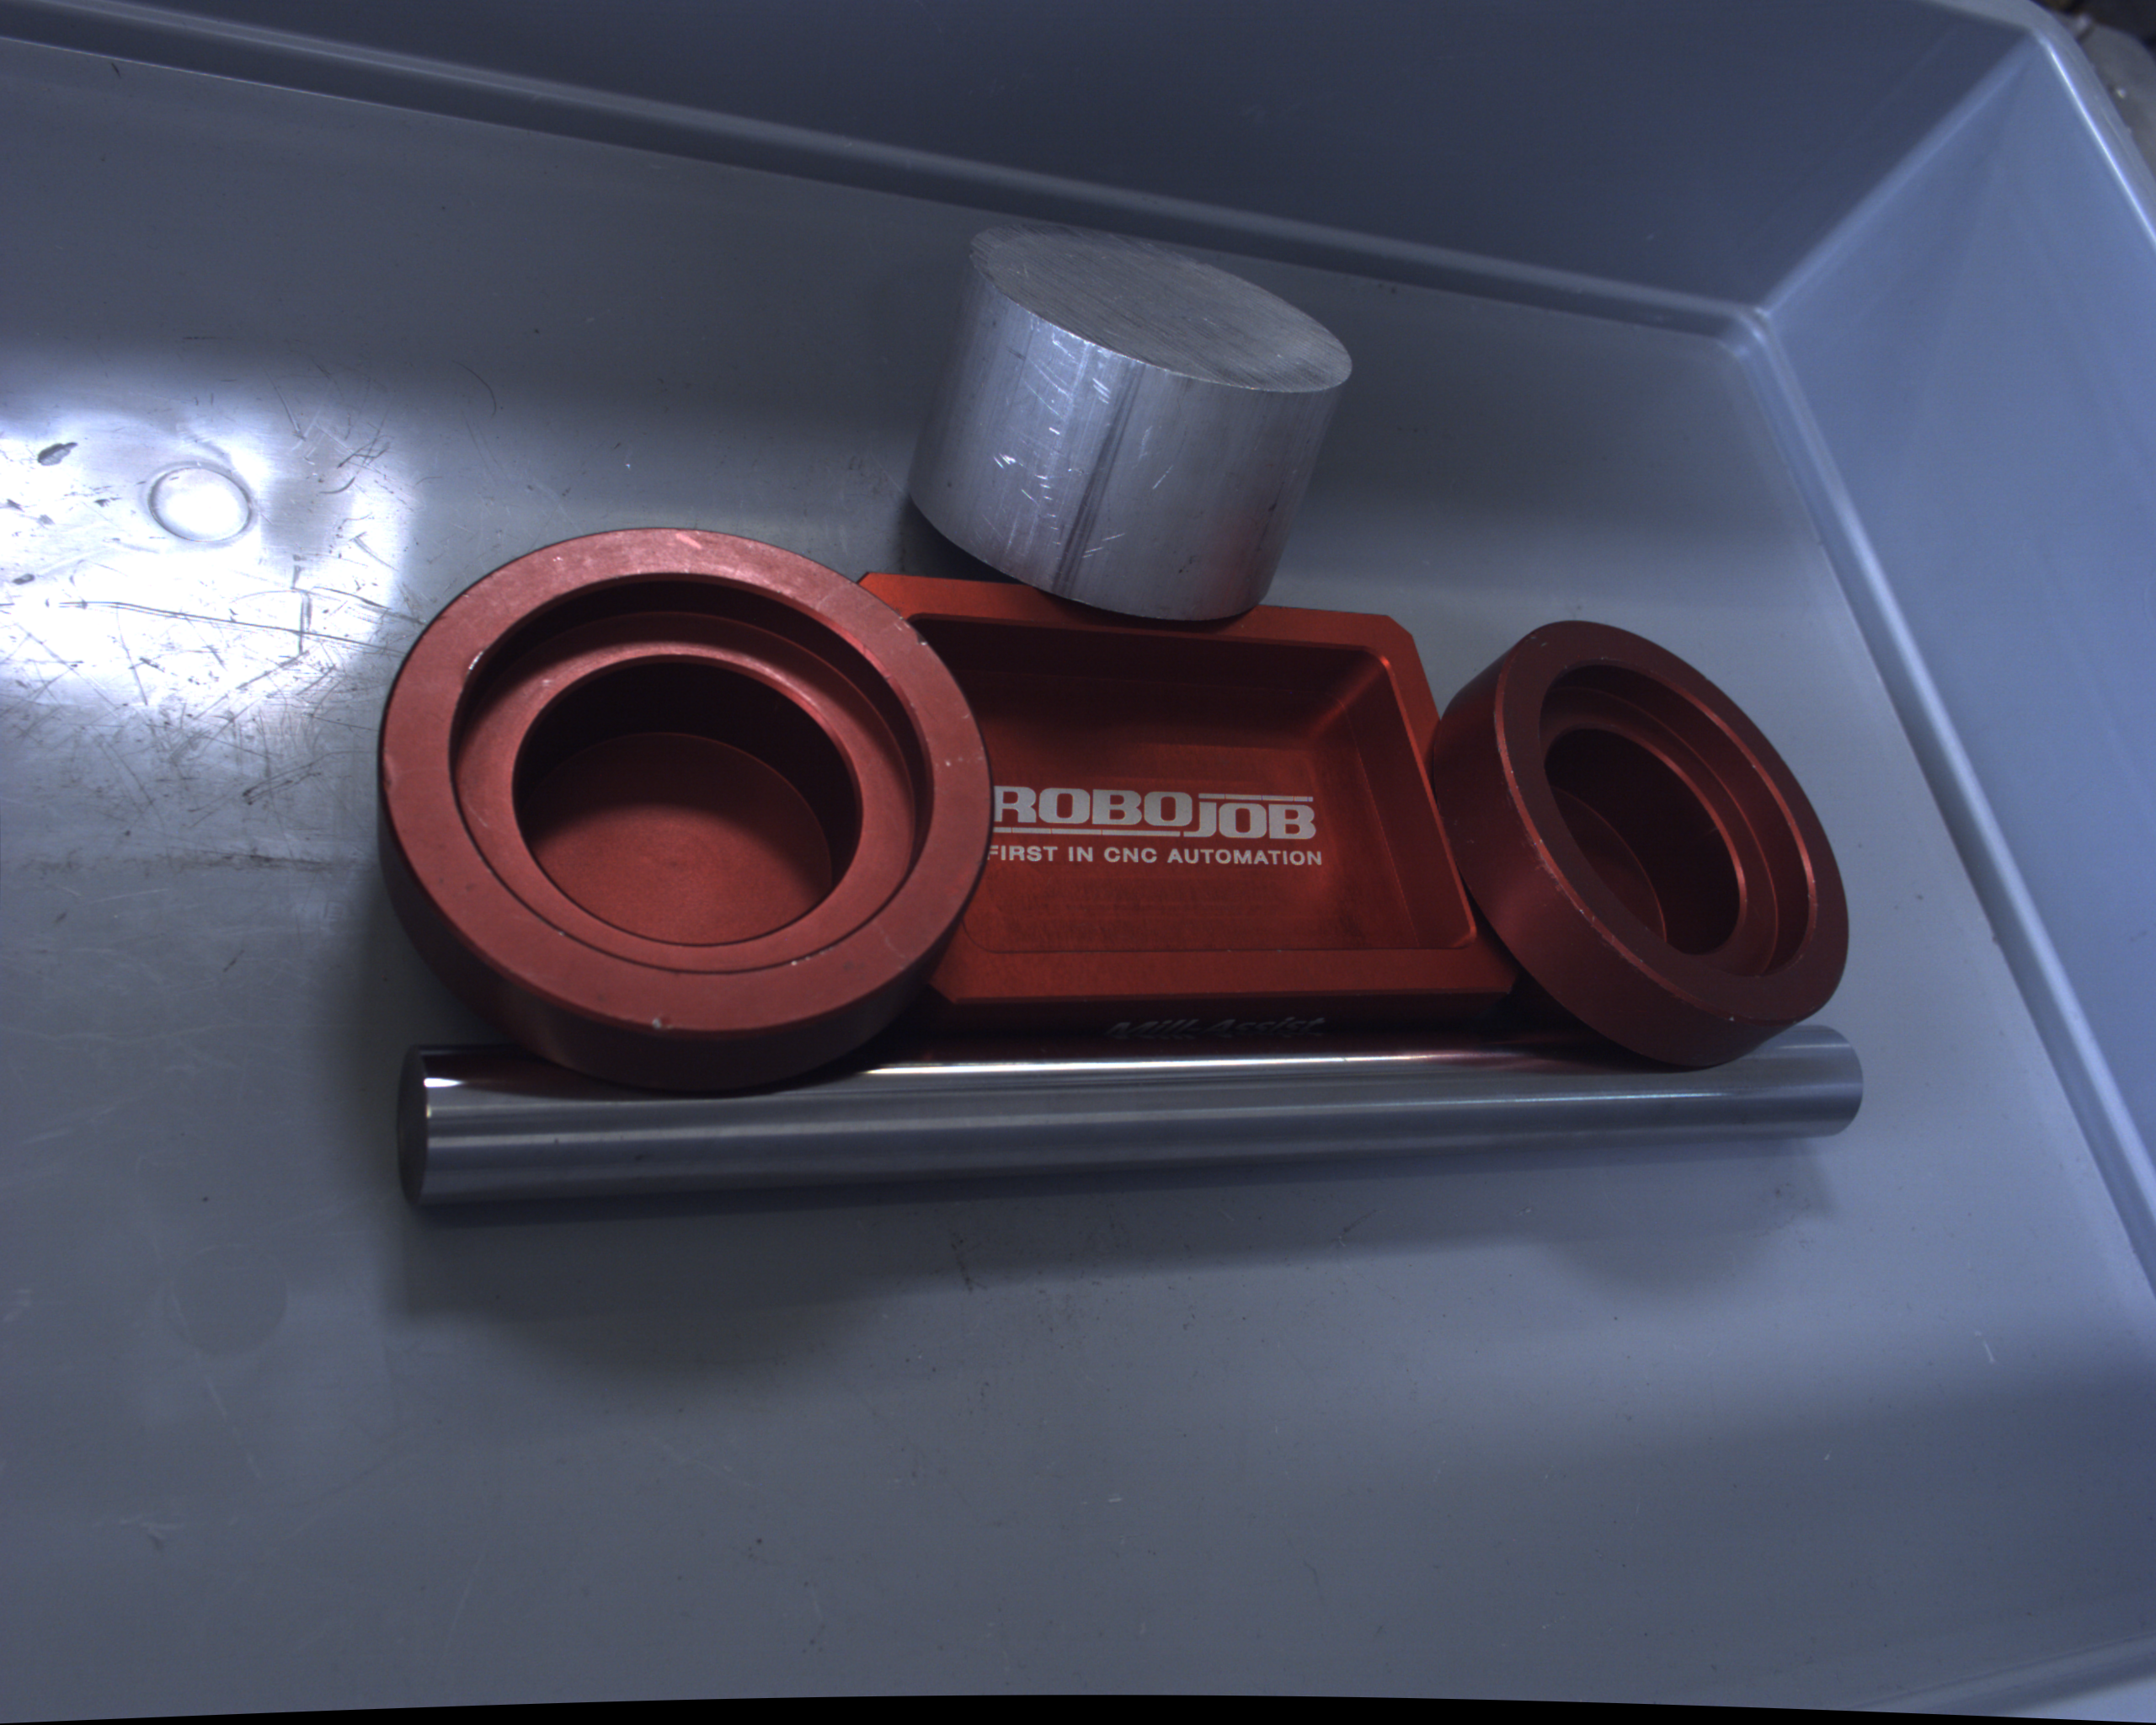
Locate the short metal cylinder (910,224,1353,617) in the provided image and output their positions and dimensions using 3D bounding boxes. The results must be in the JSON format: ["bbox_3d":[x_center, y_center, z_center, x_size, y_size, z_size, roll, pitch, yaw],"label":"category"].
[{"bbox_3d":[0.010,-0.092,0.430,0.081,0.050,0.080,14,31,-8],"label":"short metal cylinder"}]

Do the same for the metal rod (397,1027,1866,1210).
[{"bbox_3d":[0.031,0.045,0.392,0.303,0.025,0.025,2,61,-28],"label":"metal rod"}]

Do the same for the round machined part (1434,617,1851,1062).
[{"bbox_3d":[0.115,-0.001,0.448,0.099,0.042,0.098,20,50,-25],"label":"round machined part"}]

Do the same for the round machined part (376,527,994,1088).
[{"bbox_3d":[-0.067,-0.006,0.354,0.099,0.042,0.098,9,57,-14],"label":"round machined part"}]

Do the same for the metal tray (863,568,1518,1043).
[{"bbox_3d":[0.017,-0.009,0.414,0.131,0.030,0.090,1,62,-28],"label":"metal tray"}]
